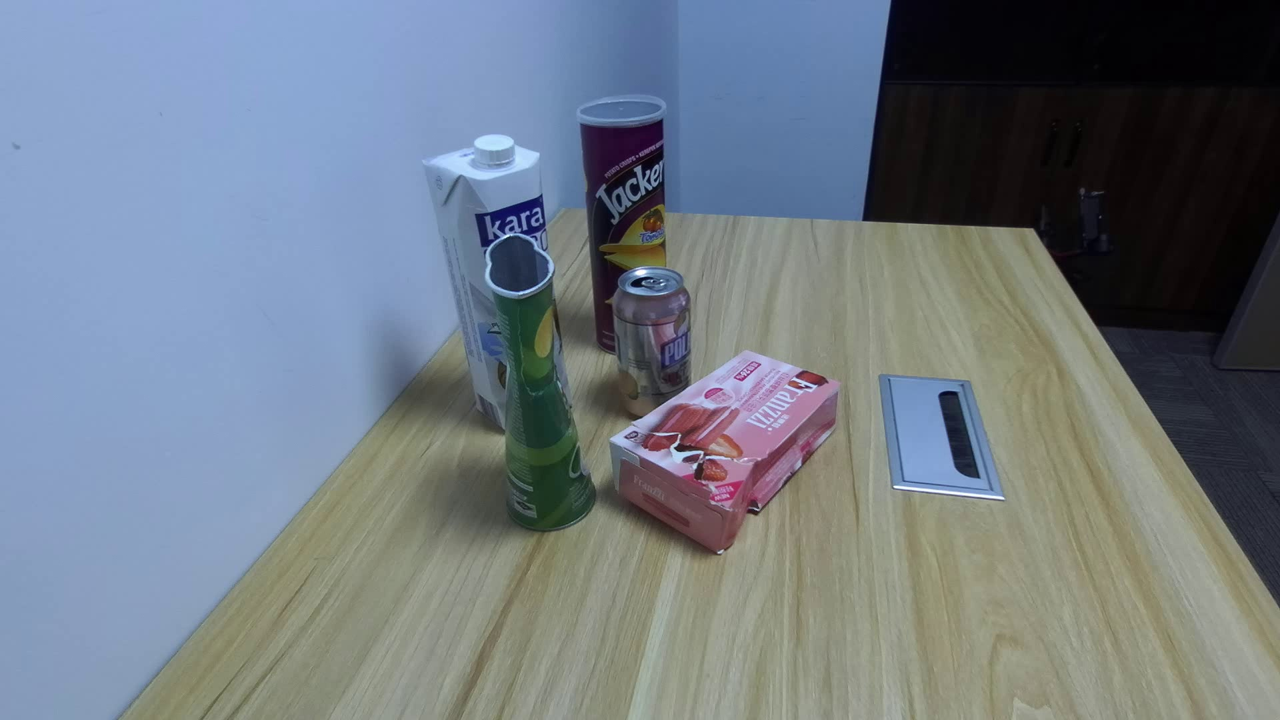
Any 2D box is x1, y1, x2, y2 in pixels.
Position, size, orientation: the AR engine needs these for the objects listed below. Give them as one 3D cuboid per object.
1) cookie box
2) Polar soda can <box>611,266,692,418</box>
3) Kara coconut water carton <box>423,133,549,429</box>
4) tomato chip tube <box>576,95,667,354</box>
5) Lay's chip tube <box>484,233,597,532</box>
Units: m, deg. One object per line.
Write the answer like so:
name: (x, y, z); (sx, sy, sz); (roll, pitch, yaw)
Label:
cookie box: (0.074, 0.057, 0.558); (0.104, 0.059, 0.186); (23, 39, 31)
Polar soda can: (0.012, -0.015, 0.622); (0.067, 0.126, 0.067); (-2, 31, 1)
Kara coconut water carton: (-0.112, -0.062, 0.588); (0.077, 0.245, 0.075); (-27, 39, -32)
tomato chip tube: (-0.011, -0.123, 0.686); (0.078, 0.234, 0.078); (-2, 32, 1)
Lay's chip tube: (-0.073, 0.023, 0.495); (0.074, 0.200, 0.069); (20, 39, 32)
